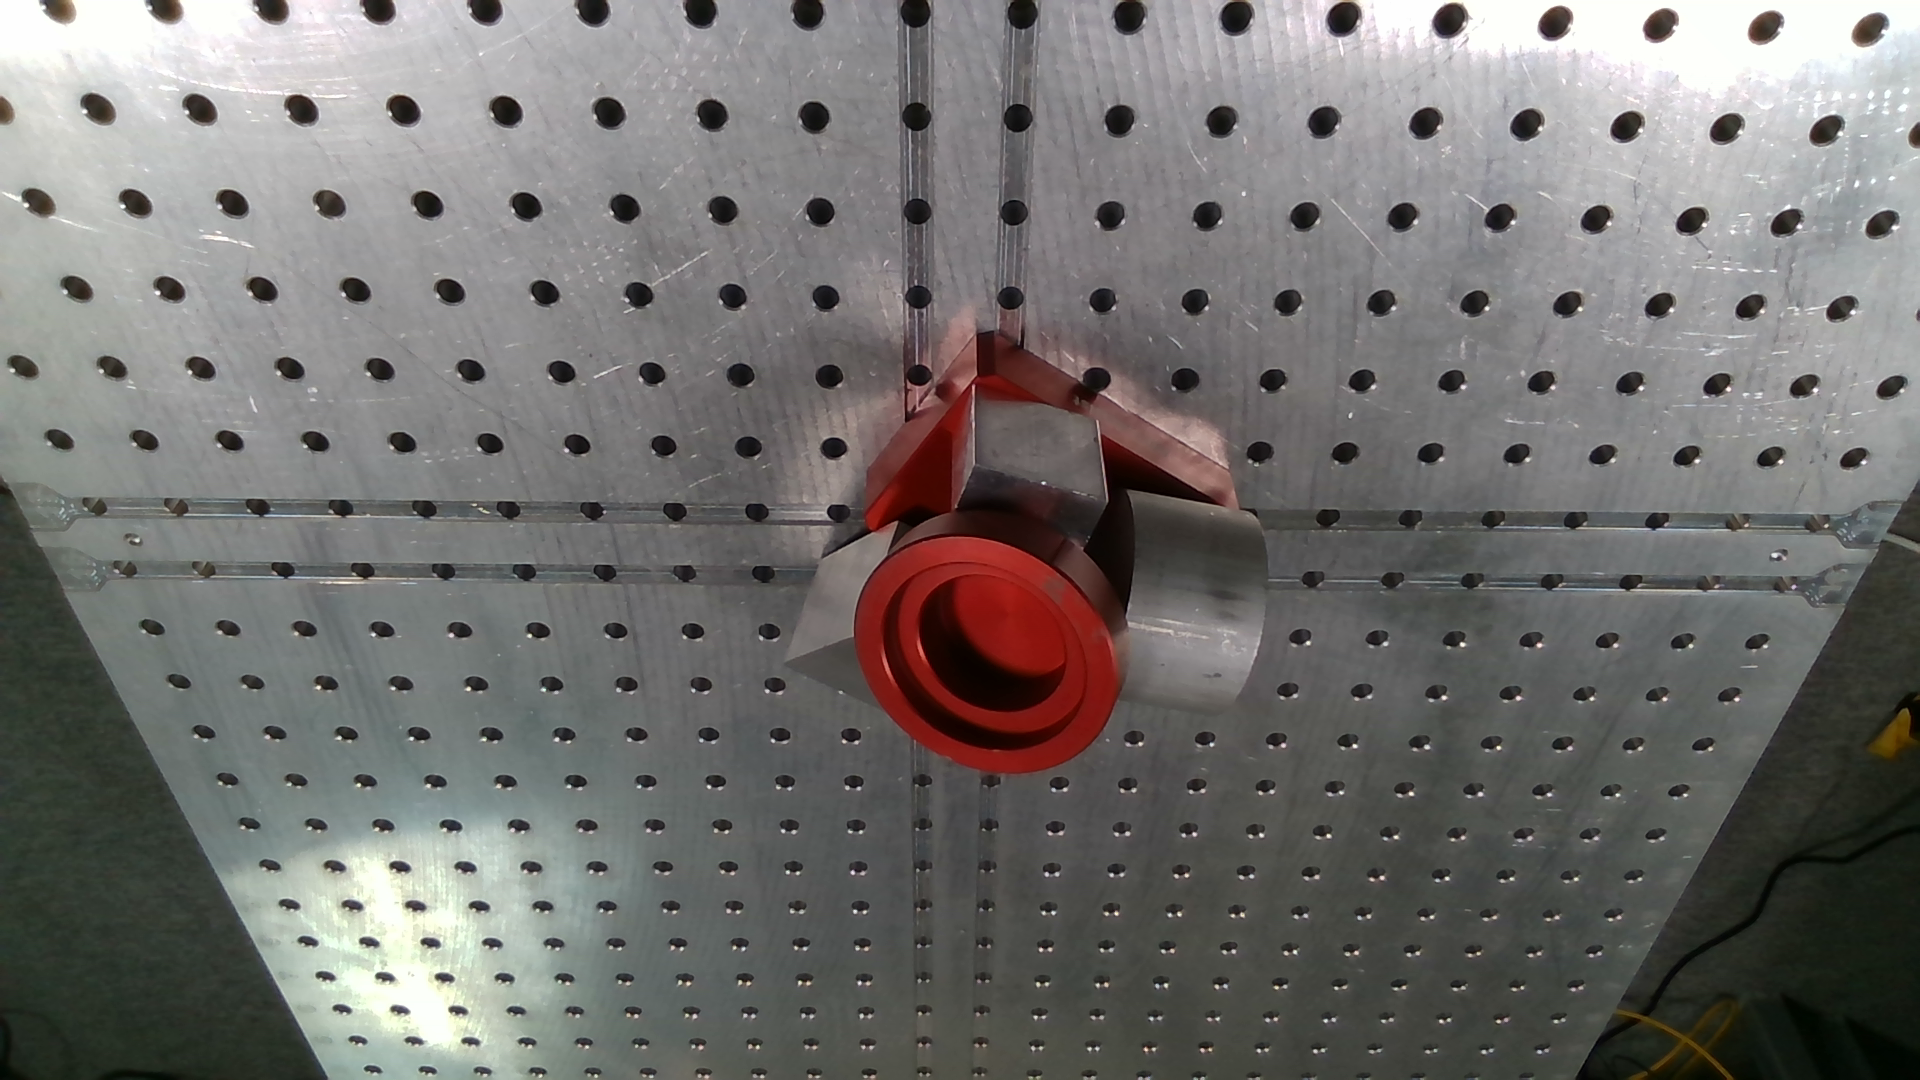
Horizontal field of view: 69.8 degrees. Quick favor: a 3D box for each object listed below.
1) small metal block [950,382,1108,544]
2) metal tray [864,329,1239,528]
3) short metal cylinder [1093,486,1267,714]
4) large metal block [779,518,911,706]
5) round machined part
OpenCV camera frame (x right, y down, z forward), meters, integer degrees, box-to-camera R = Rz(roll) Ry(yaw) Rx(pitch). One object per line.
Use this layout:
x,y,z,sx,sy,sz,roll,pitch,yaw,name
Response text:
0.024,-0.027,0.502,0.050,0.050,0.025,15,128,-12,small metal block
0.038,-0.018,0.565,0.130,0.030,0.090,28,125,-21,metal tray
0.078,0.023,0.526,0.050,0.080,0.080,10,129,-8,short metal cylinder
-0.018,0.039,0.575,0.080,0.050,0.080,27,156,-21,large metal block
0.014,0.032,0.501,0.098,0.042,0.098,10,120,17,round machined part
